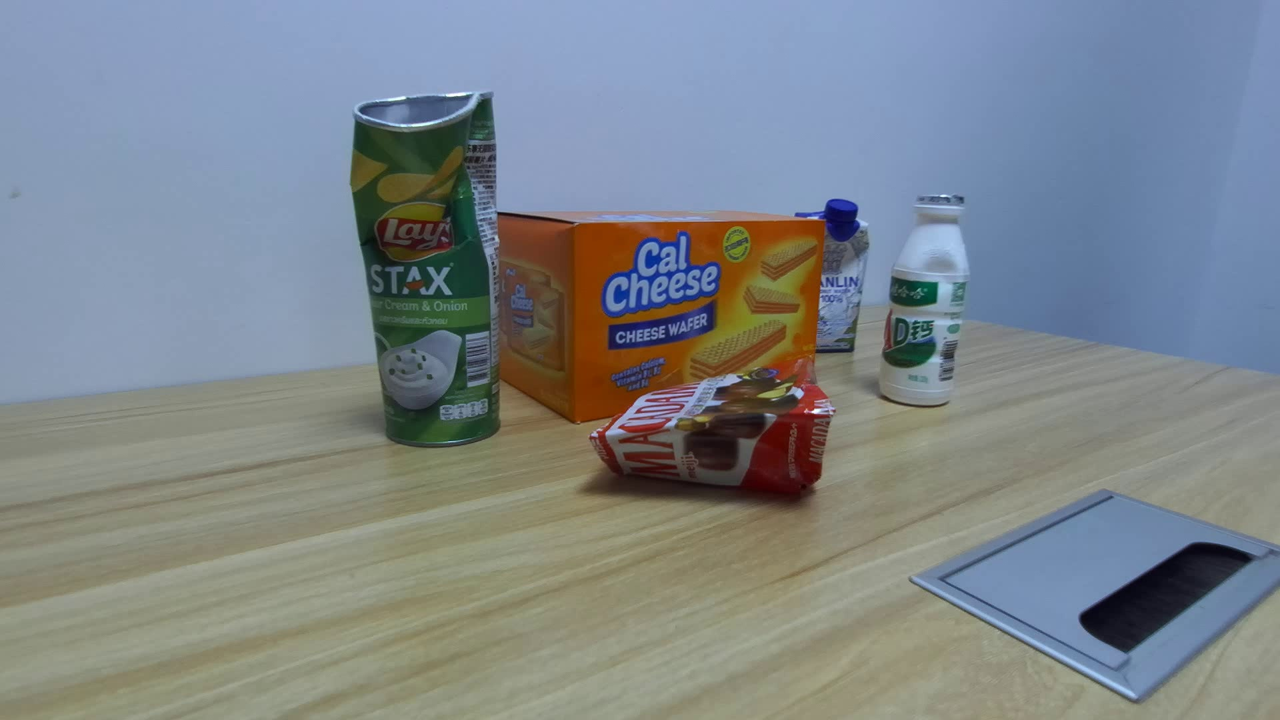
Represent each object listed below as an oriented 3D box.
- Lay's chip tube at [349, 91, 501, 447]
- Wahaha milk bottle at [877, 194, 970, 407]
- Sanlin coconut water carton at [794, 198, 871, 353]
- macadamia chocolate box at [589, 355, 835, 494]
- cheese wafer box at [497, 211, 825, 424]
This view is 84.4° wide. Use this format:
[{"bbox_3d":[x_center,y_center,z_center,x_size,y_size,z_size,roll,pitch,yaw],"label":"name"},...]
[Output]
[{"bbox_3d":[-0.116,-0.048,0.402,0.079,0.199,0.071,-5,23,-18],"label":"Lay's chip tube"},{"bbox_3d":[0.205,-0.037,0.504,0.053,0.136,0.053,3,13,0],"label":"Wahaha milk bottle"},{"bbox_3d":[0.172,-0.078,0.657,0.078,0.142,0.057,-2,19,-14],"label":"Sanlin coconut water carton"},{"bbox_3d":[0.043,0.031,0.382,0.112,0.056,0.126,5,13,10],"label":"macadamia chocolate box"},{"bbox_3d":[0.013,-0.047,0.546,0.223,0.129,0.147,-8,17,-33],"label":"cheese wafer box"}]
